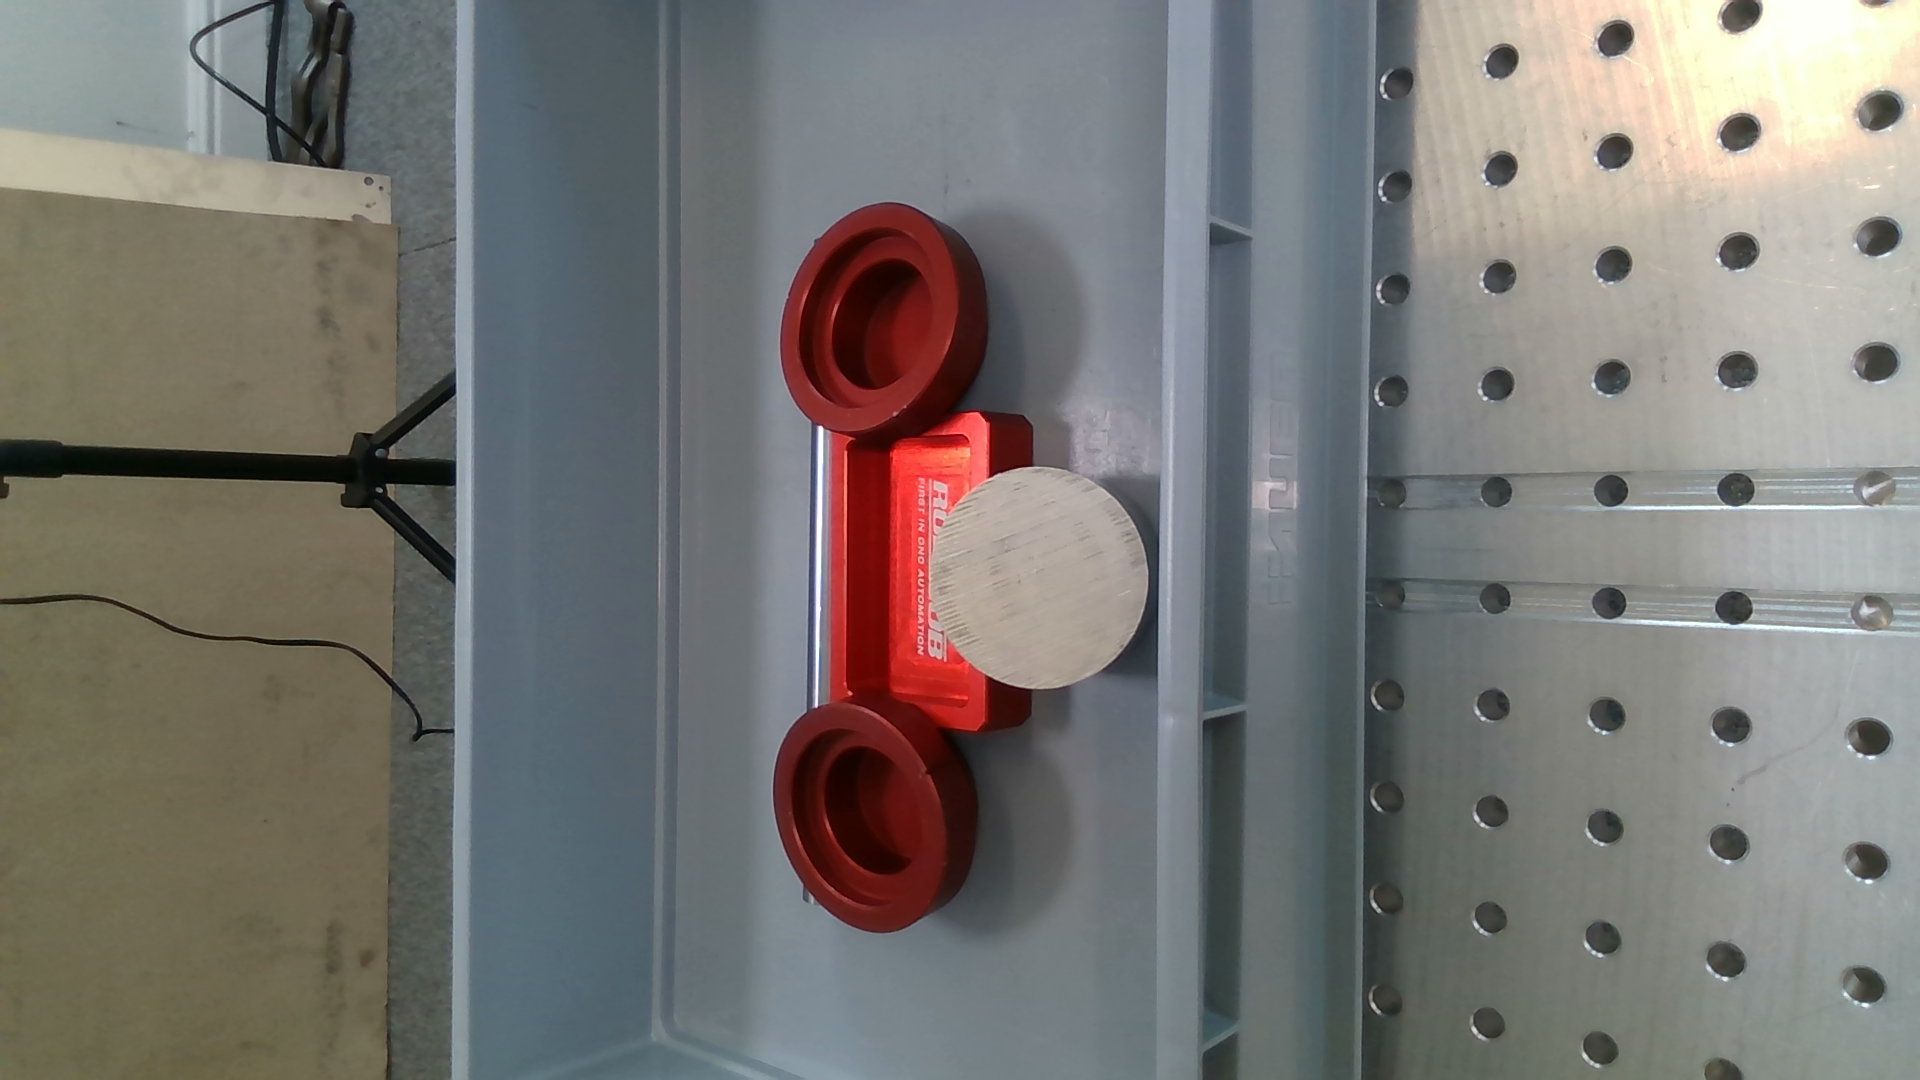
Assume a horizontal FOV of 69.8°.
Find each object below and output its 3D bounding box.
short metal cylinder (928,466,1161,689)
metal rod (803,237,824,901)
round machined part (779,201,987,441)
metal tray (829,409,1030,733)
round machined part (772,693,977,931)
[{"bbox_3d":[0.033,0.013,0.517,0.080,0.050,0.080,0,90,14],"label":"short metal cylinder"},{"bbox_3d":[-0.058,0.014,0.629,0.025,0.025,0.300,2,92,40],"label":"metal rod"},{"bbox_3d":[-0.028,-0.090,0.586,0.098,0.042,0.098,-7,78,37],"label":"round machined part"},{"bbox_3d":[-0.014,0.012,0.589,0.090,0.030,0.130,1,92,41],"label":"metal tray"},{"bbox_3d":[-0.032,0.113,0.591,0.098,0.042,0.098,8,103,37],"label":"round machined part"}]
